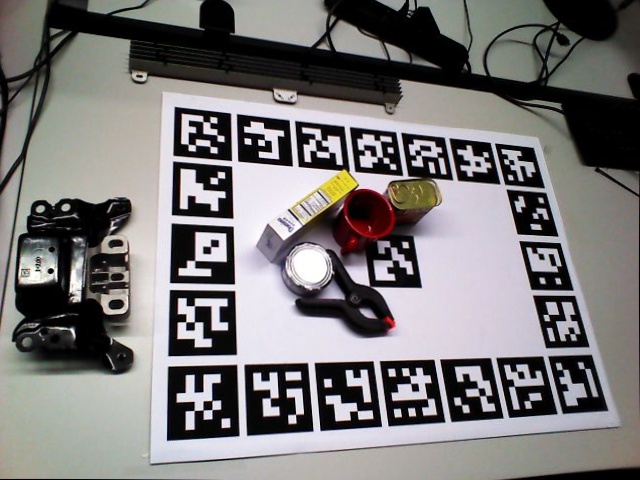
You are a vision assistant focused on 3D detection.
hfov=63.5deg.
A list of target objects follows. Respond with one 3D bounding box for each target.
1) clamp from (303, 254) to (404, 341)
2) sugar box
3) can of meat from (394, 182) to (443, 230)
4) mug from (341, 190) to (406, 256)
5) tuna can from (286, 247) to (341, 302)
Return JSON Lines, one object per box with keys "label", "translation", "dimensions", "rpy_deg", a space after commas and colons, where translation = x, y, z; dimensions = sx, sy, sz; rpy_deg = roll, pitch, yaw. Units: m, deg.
{"label": "clamp", "translation": [0.065, 0.112, 0.847], "dimensions": [0.165, 0.037, 0.121], "rpy_deg": [36, 58, -6]}
{"label": "sugar box", "translation": [-0.009, -0.033, 0.851], "dimensions": [0.175, 0.093, 0.045], "rpy_deg": [-38, 82, -28]}
{"label": "can of meat", "translation": [0.171, -0.058, 0.924], "dimensions": [0.101, 0.084, 0.057], "rpy_deg": [-6, 69, -22]}
{"label": "mug", "translation": [0.081, -0.017, 0.870], "dimensions": [0.093, 0.082, 0.116], "rpy_deg": [26, 65, -7]}
{"label": "tuna can", "translation": [-0.012, 0.057, 0.839], "dimensions": [0.085, 0.034, 0.085], "rpy_deg": [6, 69, -16]}
